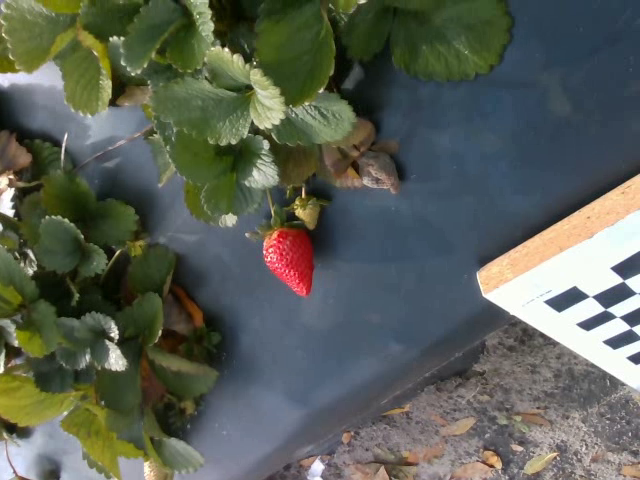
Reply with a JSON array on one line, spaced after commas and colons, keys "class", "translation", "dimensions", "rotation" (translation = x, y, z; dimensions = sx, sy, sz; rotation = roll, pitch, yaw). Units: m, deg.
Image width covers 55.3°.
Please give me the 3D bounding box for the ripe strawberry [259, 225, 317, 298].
[{"class": "ripe strawberry", "translation": [-0.019, 0.017, 0.427], "dimensions": [0.045, 0.058, 0.050], "rotation": [-33, -4, 28]}]
